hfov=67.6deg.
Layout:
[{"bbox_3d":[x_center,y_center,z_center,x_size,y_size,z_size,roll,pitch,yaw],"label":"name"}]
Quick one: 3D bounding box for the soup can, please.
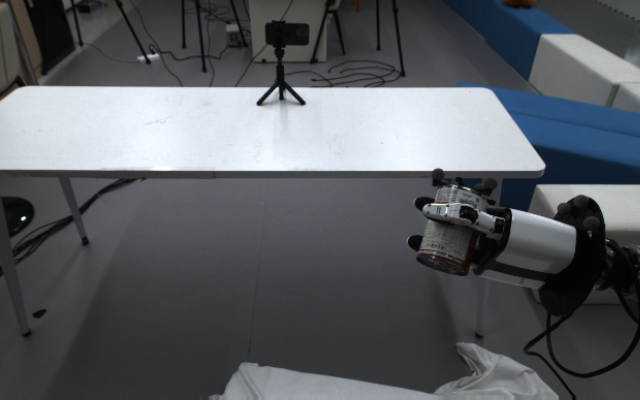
[{"bbox_3d":[0.172,0.037,0.632,0.067,0.067,0.101,16,75,19],"label":"soup can"}]
